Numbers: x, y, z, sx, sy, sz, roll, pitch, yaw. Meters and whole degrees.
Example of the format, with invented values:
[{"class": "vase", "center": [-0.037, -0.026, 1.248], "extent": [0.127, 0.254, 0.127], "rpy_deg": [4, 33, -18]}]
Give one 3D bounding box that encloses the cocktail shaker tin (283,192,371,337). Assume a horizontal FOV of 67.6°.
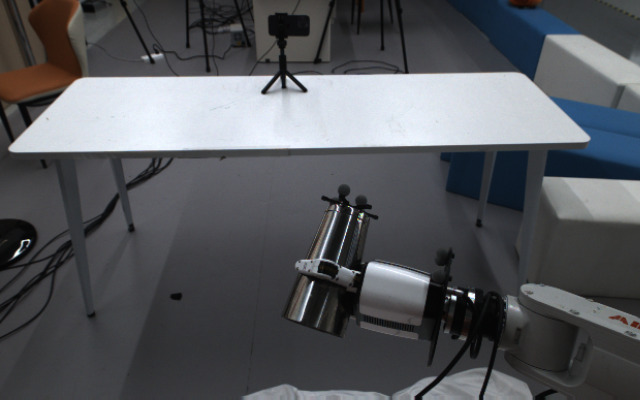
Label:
[{"class": "cocktail shaker tin", "center": [0.015, 0.097, 0.680], "extent": [0.093, 0.093, 0.170], "rpy_deg": [14, 73, 17]}]
